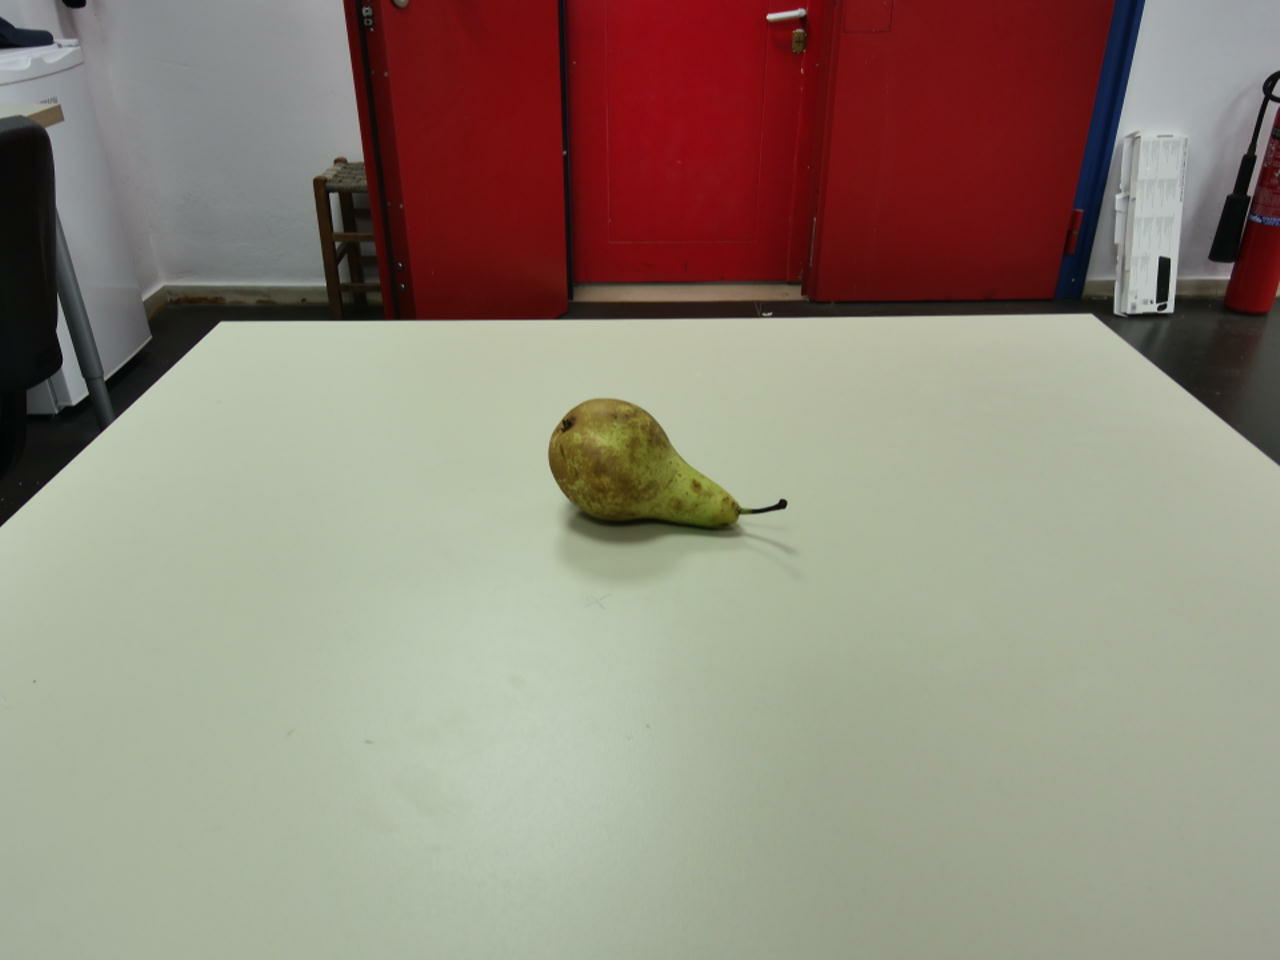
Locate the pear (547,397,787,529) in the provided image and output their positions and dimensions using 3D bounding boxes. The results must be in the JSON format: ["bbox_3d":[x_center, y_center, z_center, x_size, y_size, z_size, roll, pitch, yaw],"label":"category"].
[{"bbox_3d":[0.017,-0.012,0.599,0.144,0.075,0.071,2,27,6],"label":"pear"}]
